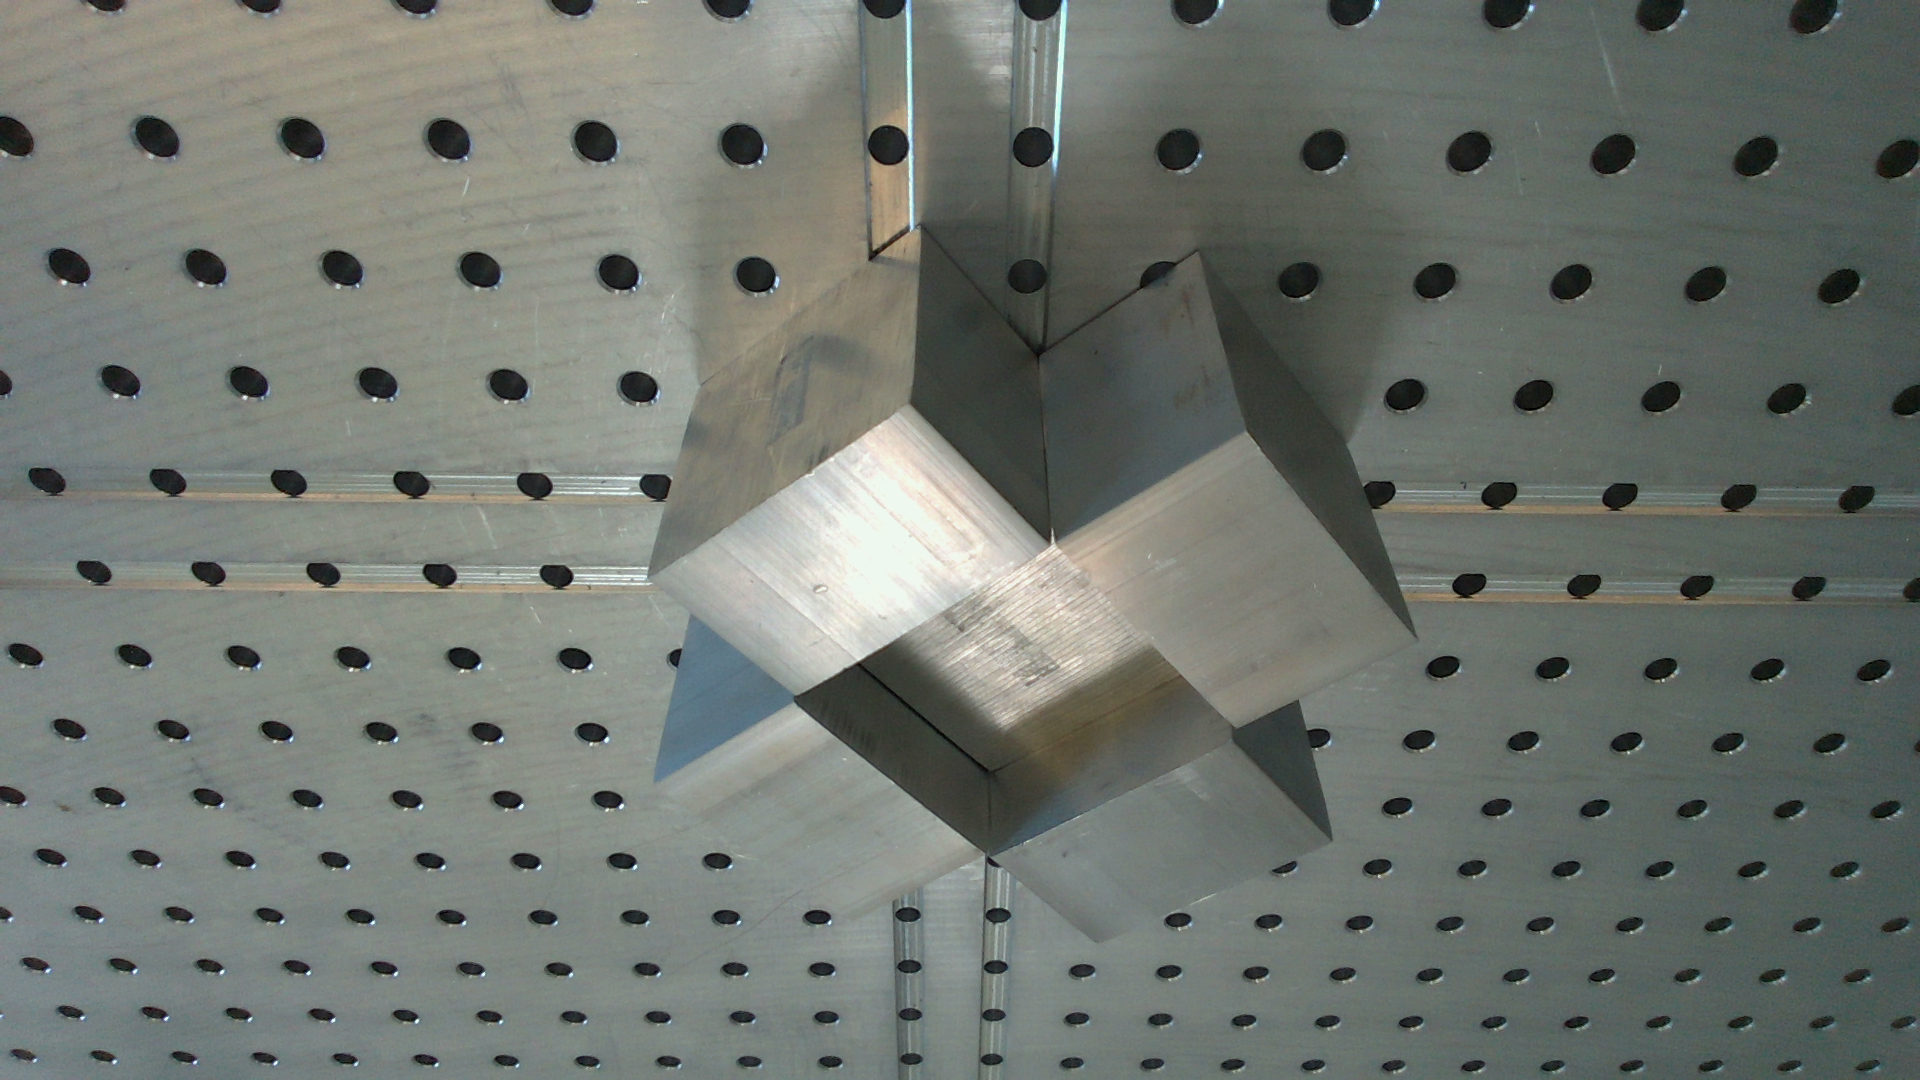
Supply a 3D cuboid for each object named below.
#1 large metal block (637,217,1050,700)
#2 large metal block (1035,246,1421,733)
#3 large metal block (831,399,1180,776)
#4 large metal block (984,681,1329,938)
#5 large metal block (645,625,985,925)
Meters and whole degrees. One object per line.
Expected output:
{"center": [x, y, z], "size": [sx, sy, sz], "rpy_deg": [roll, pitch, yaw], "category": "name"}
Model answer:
{"center": [-0.027, -0.020, 0.340], "size": [0.080, 0.080, 0.050], "rpy_deg": [-31, 123, 24], "category": "large metal block"}
{"center": [0.065, -0.013, 0.347], "size": [0.050, 0.080, 0.080], "rpy_deg": [-32, 124, 24], "category": "large metal block"}
{"center": [0.015, 0.010, 0.384], "size": [0.080, 0.050, 0.080], "rpy_deg": [-30, 123, 25], "category": "large metal block"}
{"center": [0.054, 0.058, 0.408], "size": [0.080, 0.080, 0.050], "rpy_deg": [-30, 124, 23], "category": "large metal block"}
{"center": [-0.038, 0.050, 0.399], "size": [0.050, 0.080, 0.080], "rpy_deg": [-32, 124, 24], "category": "large metal block"}
